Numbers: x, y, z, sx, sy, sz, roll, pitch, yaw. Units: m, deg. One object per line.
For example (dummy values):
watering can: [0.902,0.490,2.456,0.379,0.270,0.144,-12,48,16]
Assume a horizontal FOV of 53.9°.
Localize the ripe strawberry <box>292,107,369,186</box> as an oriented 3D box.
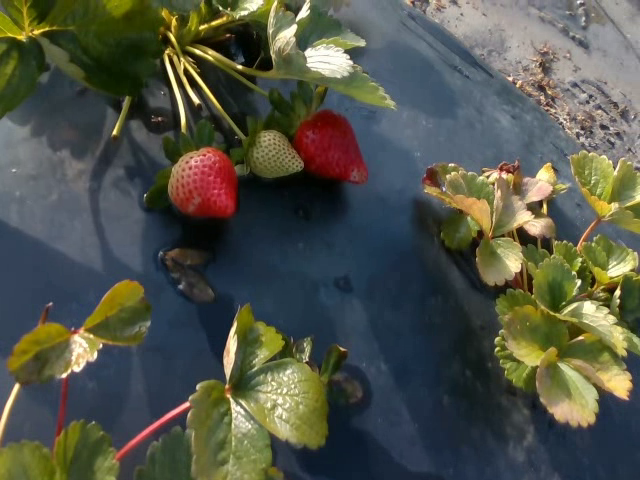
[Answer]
ripe strawberry: [0.012,-0.056,0.407,0.048,0.065,0.050,-39,-3,5]
